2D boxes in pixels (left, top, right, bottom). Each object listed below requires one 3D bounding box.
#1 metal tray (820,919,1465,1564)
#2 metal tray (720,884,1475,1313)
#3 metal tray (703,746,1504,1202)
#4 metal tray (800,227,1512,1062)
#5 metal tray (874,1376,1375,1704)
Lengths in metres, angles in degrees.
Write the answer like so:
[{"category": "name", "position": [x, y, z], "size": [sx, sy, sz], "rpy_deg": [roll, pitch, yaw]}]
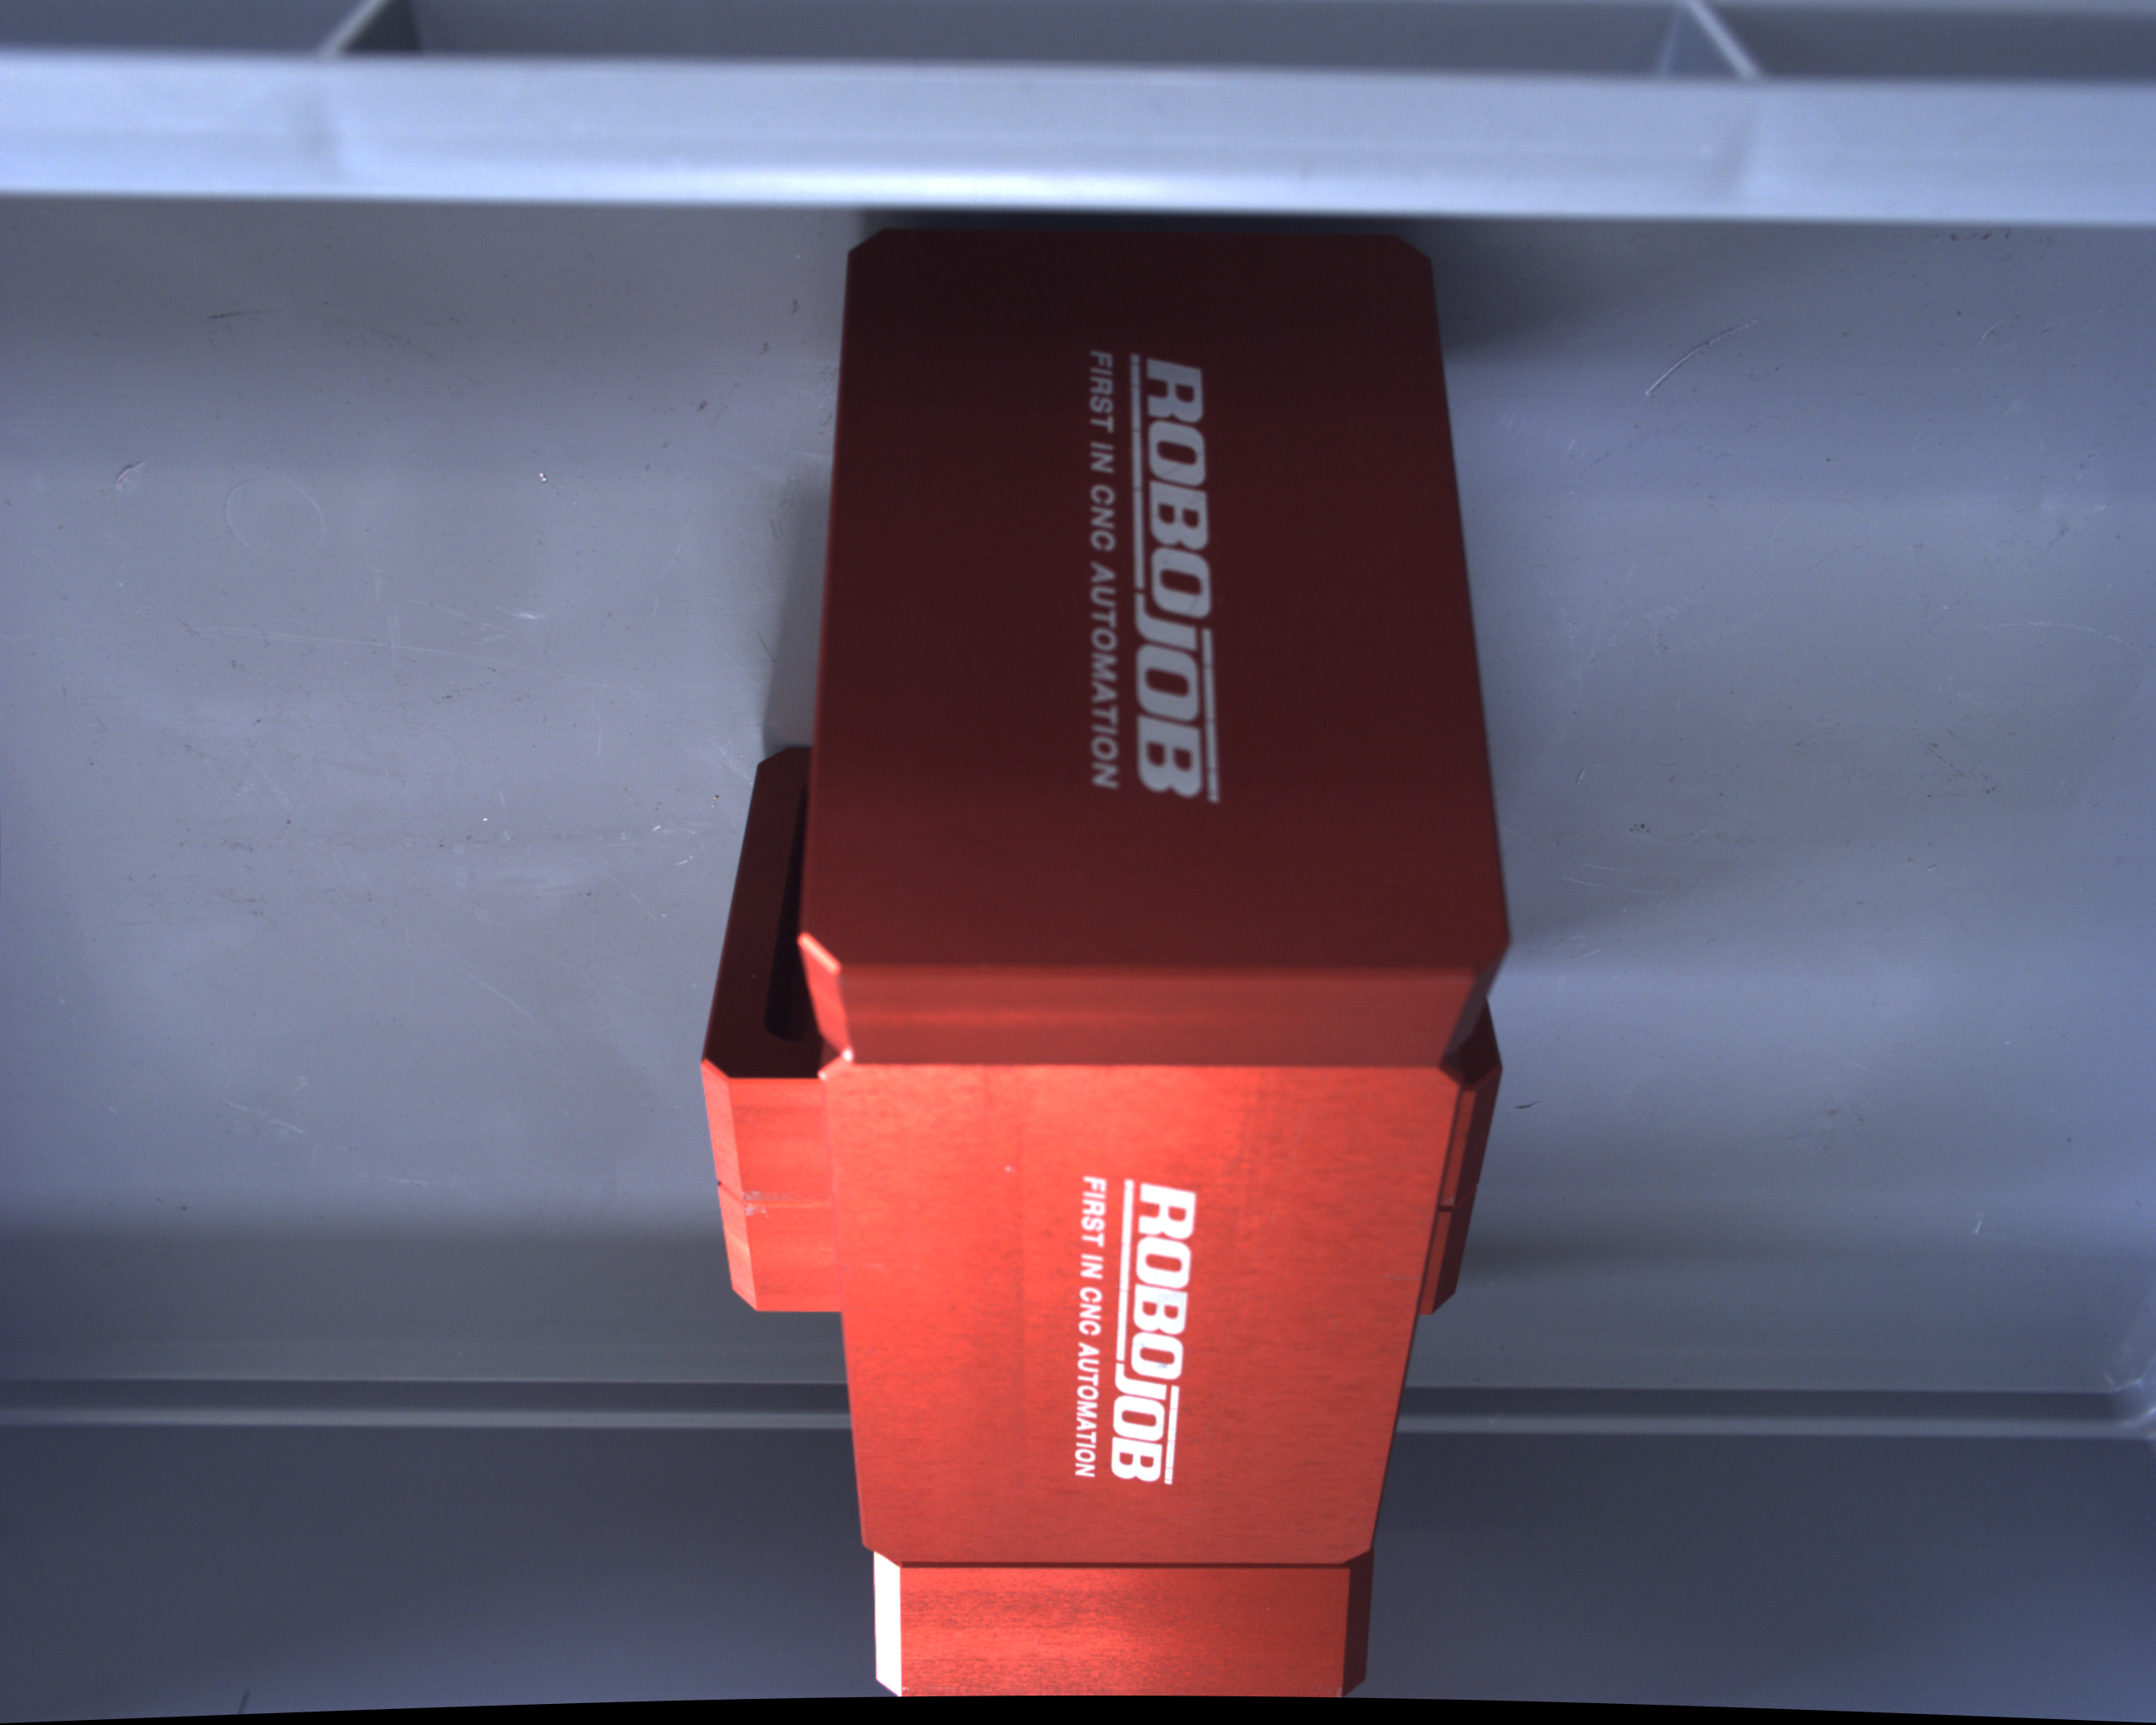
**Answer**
[{"category": "metal tray", "position": [0.008, 0.067, 0.342], "size": [0.091, 0.030, 0.129], "rpy_deg": [0, 130, -1]}, {"category": "metal tray", "position": [0.003, 0.041, 0.400], "size": [0.131, 0.090, 0.030], "rpy_deg": [1, 130, -1]}, {"category": "metal tray", "position": [0.004, 0.018, 0.380], "size": [0.131, 0.090, 0.030], "rpy_deg": [1, 130, -1]}, {"category": "metal tray", "position": [0.010, -0.036, 0.307], "size": [0.091, 0.130, 0.030], "rpy_deg": [1, 150, -1]}, {"category": "metal tray", "position": [0.008, 0.119, 0.438], "size": [0.091, 0.130, 0.030], "rpy_deg": [0, 109, -1]}]
